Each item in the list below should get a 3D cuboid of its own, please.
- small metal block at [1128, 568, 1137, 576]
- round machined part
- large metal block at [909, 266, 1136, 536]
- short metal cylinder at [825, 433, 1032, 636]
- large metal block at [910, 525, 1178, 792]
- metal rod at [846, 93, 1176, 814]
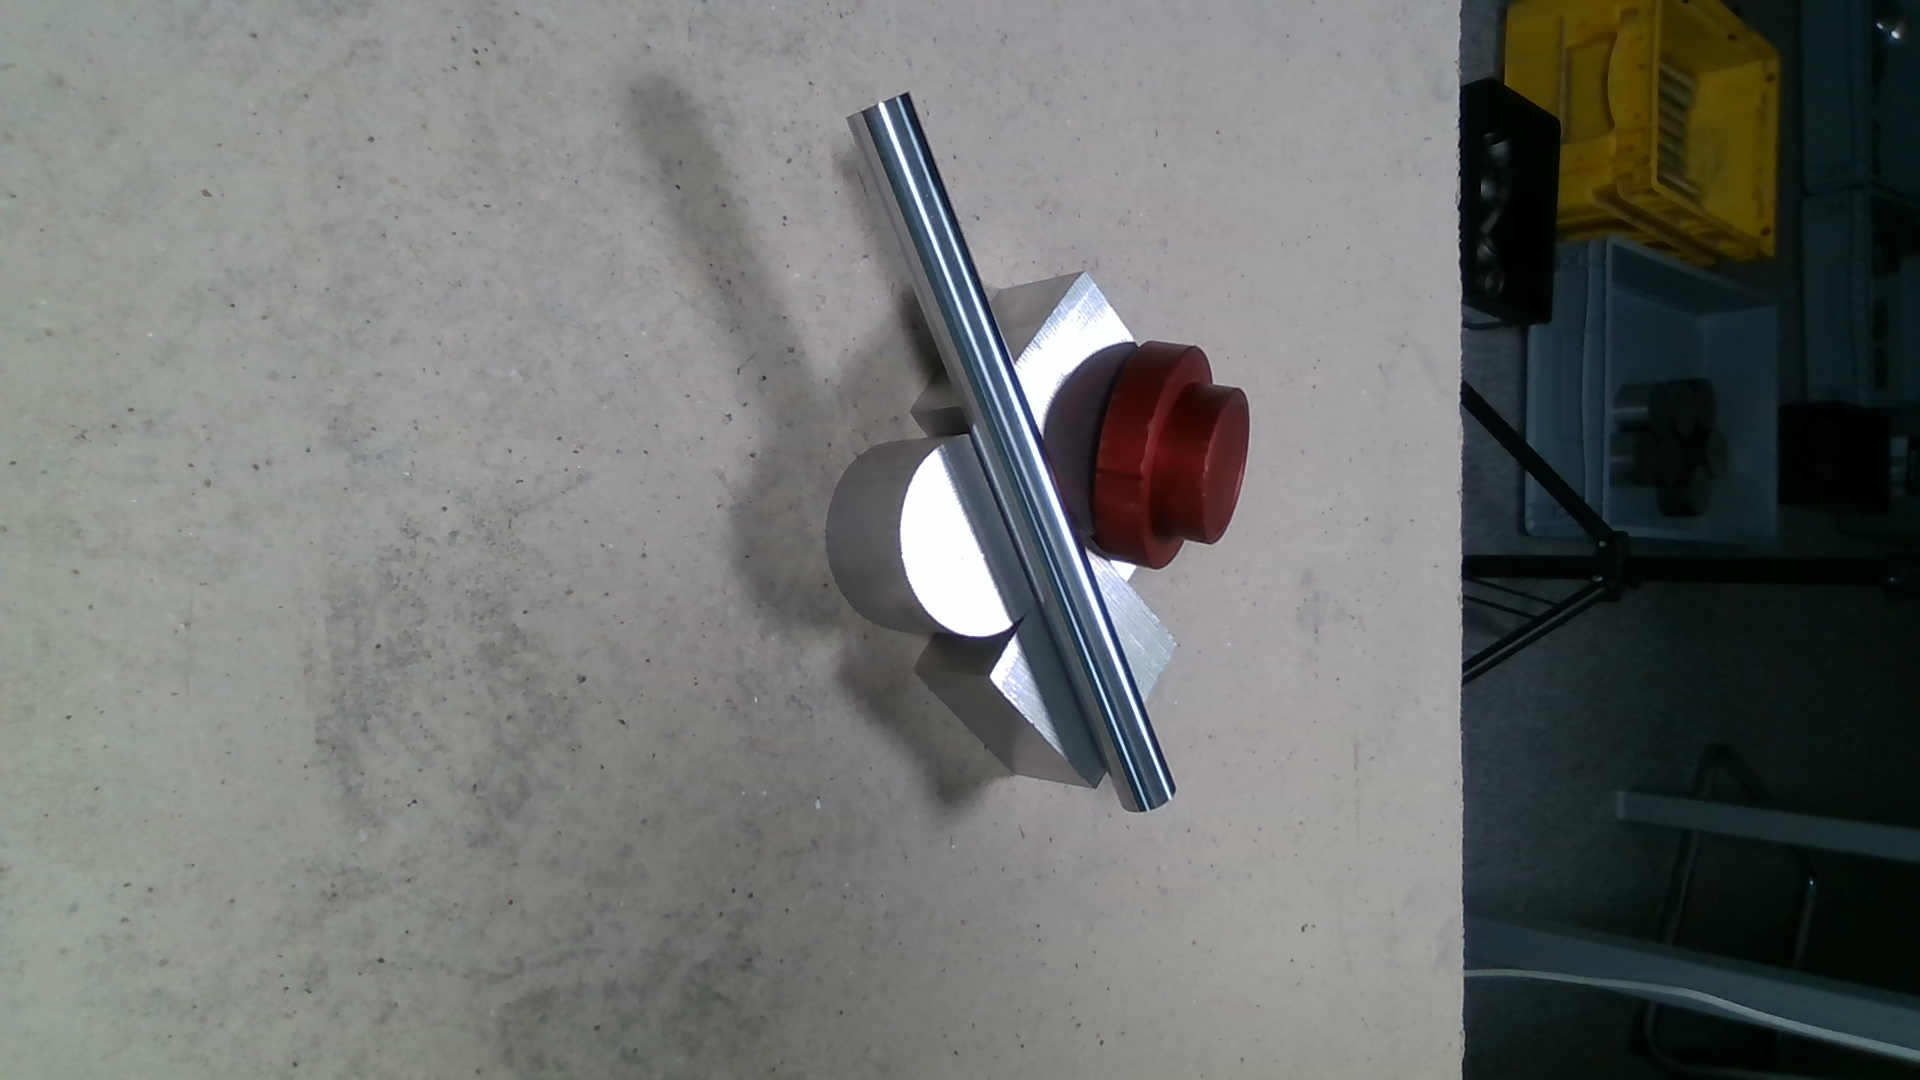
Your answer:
[{"bbox_3d":[0.060,-0.004,0.633,0.050,0.025,0.050,50,60,-28],"label":"small metal block"},{"bbox_3d":[0.095,-0.035,0.594,0.098,0.042,0.098,-41,137,-54],"label":"round machined part"},{"bbox_3d":[0.038,-0.058,0.597,0.080,0.050,0.080,50,60,-29],"label":"large metal block"},{"bbox_3d":[-0.008,-0.002,0.560,0.080,0.050,0.080,0,90,-40],"label":"short metal cylinder"},{"bbox_3d":[0.038,0.050,0.600,0.080,0.050,0.080,49,61,-29],"label":"large metal block"},{"bbox_3d":[0.025,-0.023,0.539,0.025,0.025,0.301,-35,112,-35],"label":"metal rod"}]
